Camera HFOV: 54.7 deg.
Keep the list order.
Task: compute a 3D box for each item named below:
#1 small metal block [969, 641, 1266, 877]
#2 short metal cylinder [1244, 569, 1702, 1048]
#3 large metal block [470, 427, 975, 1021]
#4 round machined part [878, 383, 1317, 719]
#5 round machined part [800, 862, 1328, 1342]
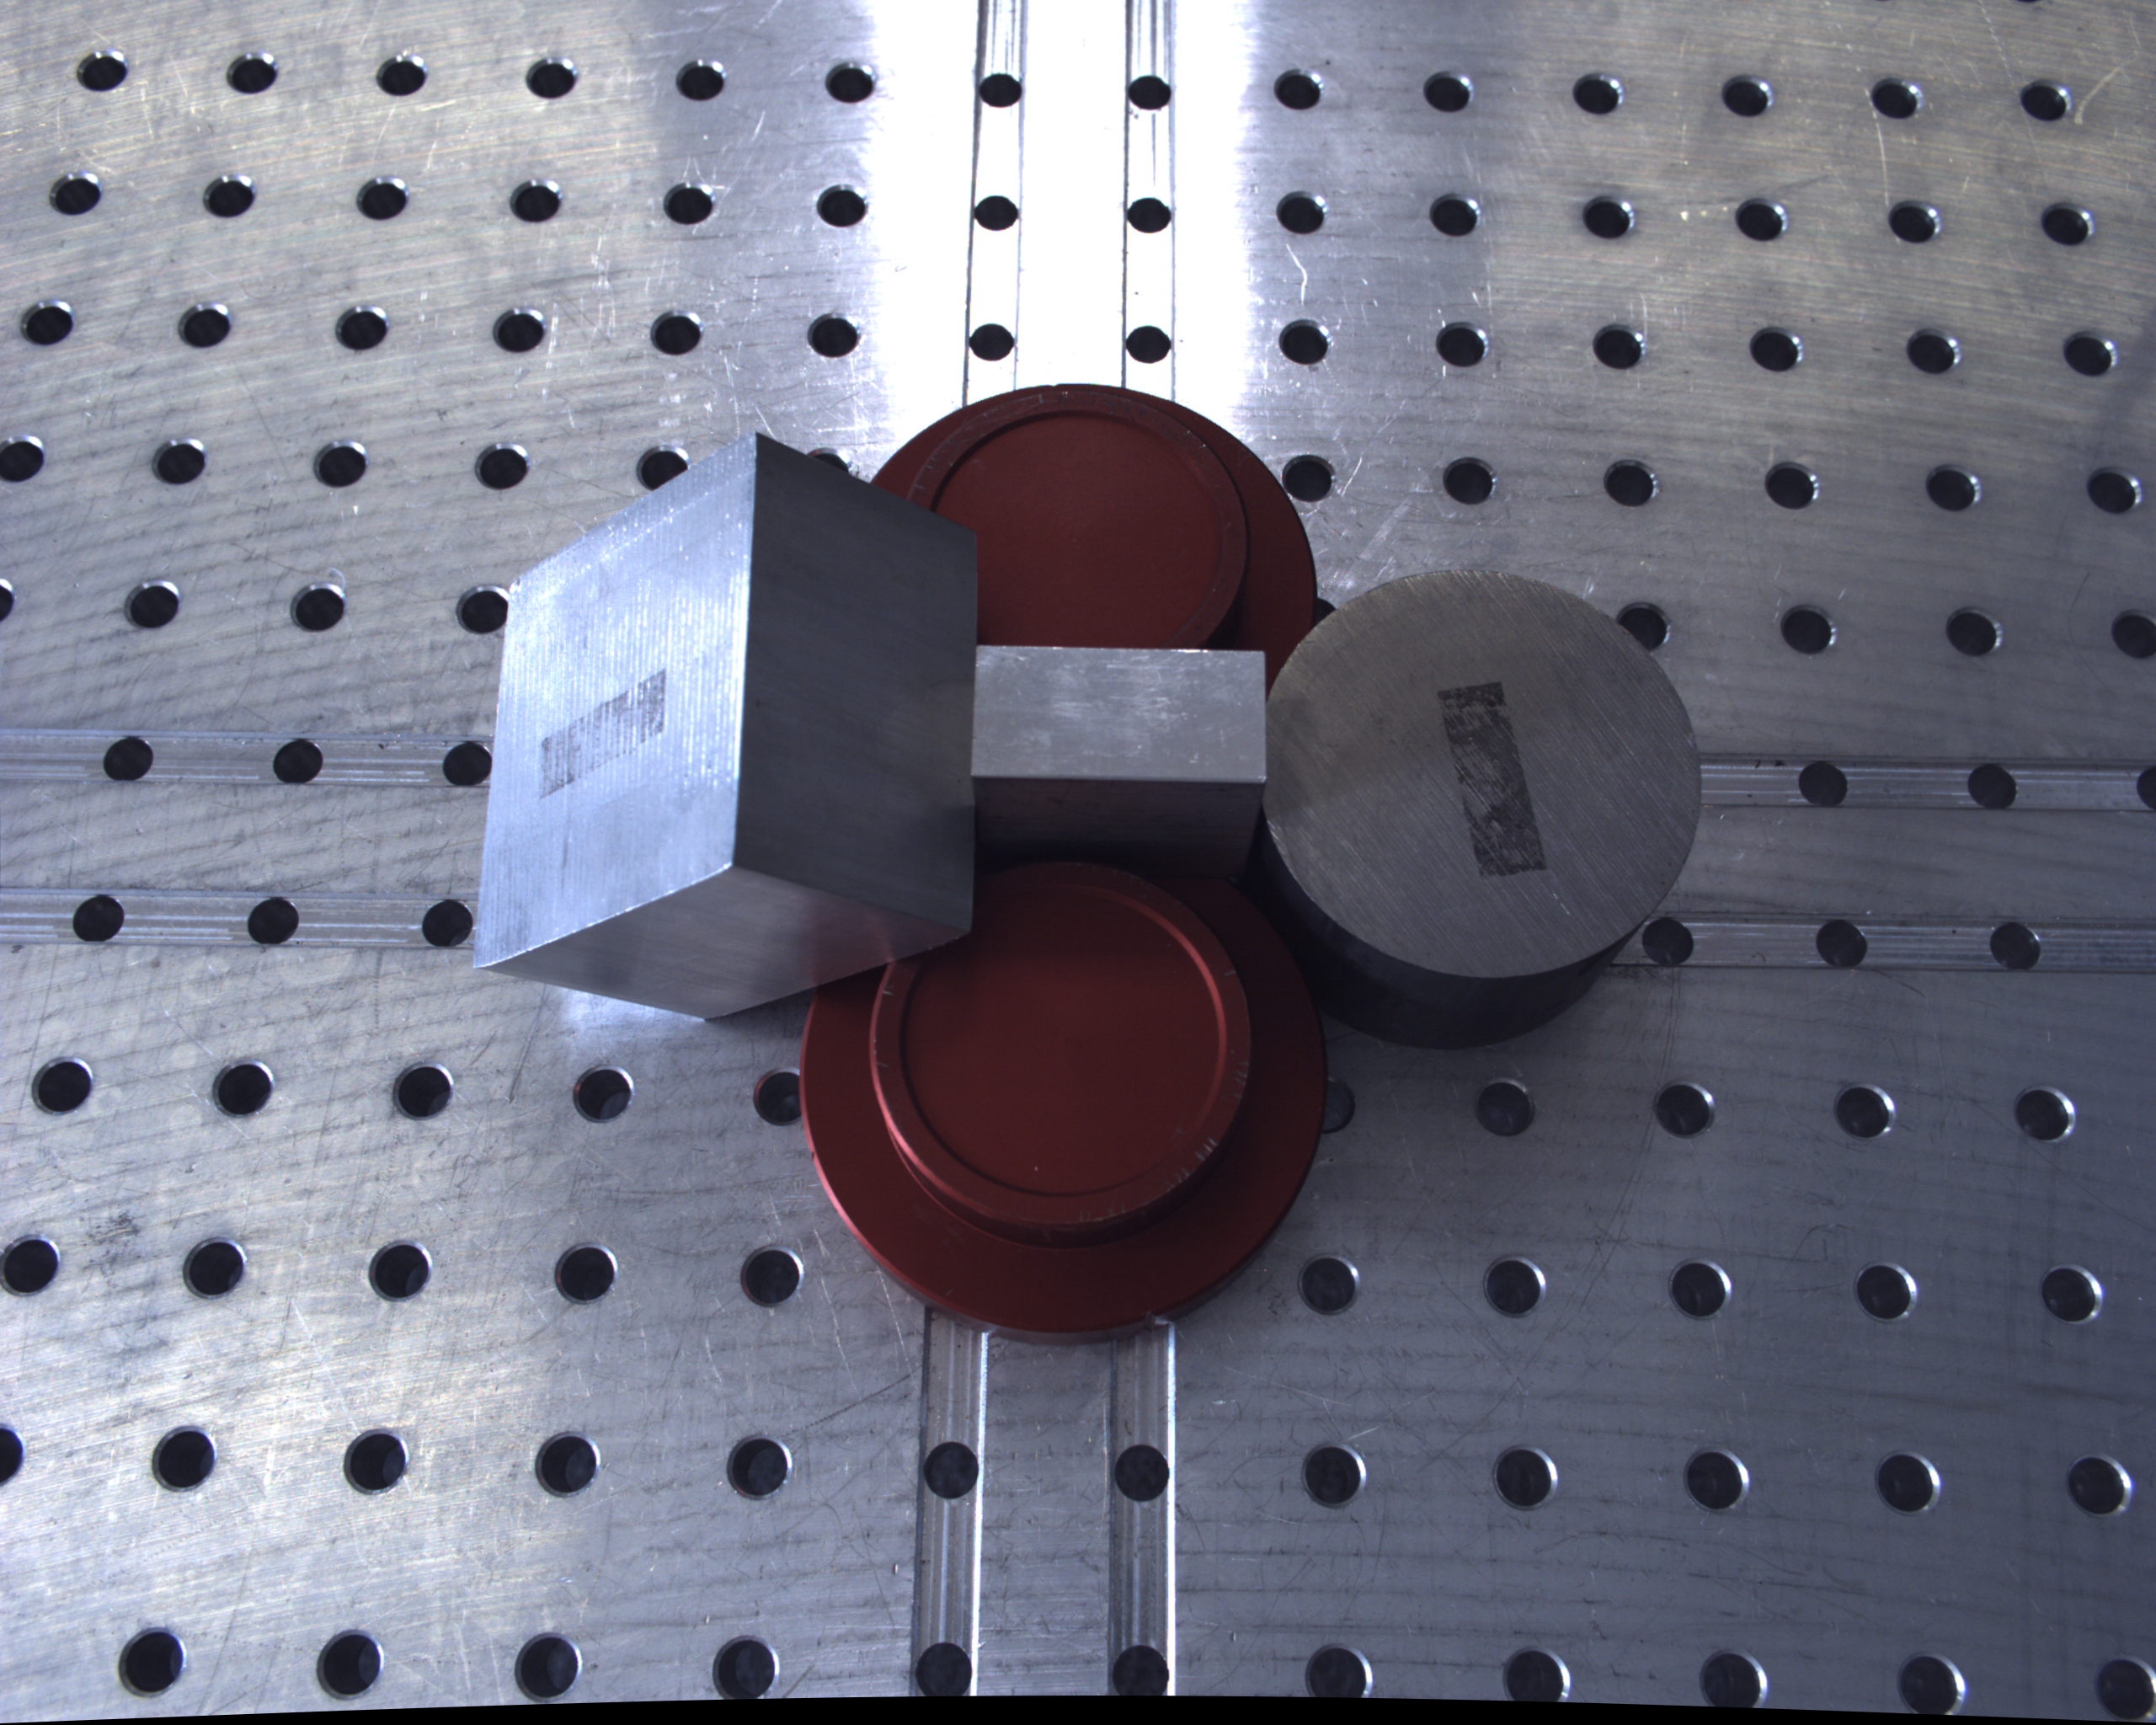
[{"bbox_3d":[0.007,-0.018,0.381,0.050,0.050,0.025,1,70,0],"label":"small metal block"},{"bbox_3d":[0.073,-0.009,0.401,0.081,0.050,0.080,0,70,0],"label":"short metal cylinder"},{"bbox_3d":[-0.065,-0.021,0.384,0.050,0.080,0.080,18,63,-42],"label":"large metal block"},{"bbox_3d":[-0.001,-0.056,0.423,0.099,0.042,0.098,0,70,0],"label":"round machined part"},{"bbox_3d":[-0.003,0.038,0.389,0.099,0.042,0.098,0,70,0],"label":"round machined part"}]
